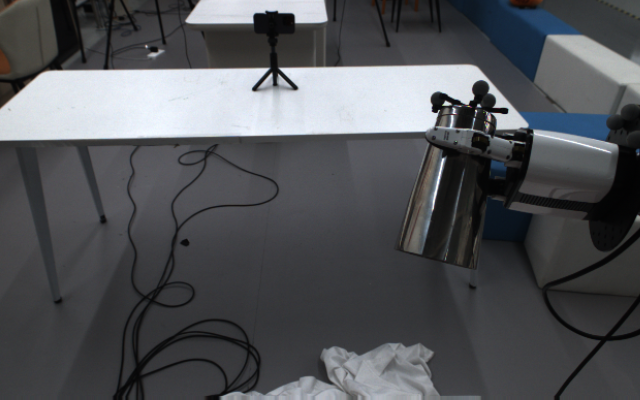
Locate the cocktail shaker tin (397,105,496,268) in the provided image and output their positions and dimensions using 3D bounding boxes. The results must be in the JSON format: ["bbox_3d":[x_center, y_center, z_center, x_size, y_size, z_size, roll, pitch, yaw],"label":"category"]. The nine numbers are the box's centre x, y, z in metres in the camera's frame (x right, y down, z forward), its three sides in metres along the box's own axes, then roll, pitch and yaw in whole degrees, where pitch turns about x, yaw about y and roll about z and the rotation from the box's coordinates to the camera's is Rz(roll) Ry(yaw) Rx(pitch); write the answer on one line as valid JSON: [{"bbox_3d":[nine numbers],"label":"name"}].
[{"bbox_3d":[0.151,-0.018,0.553,0.093,0.170,0.093,14,-5,1],"label":"cocktail shaker tin"}]
